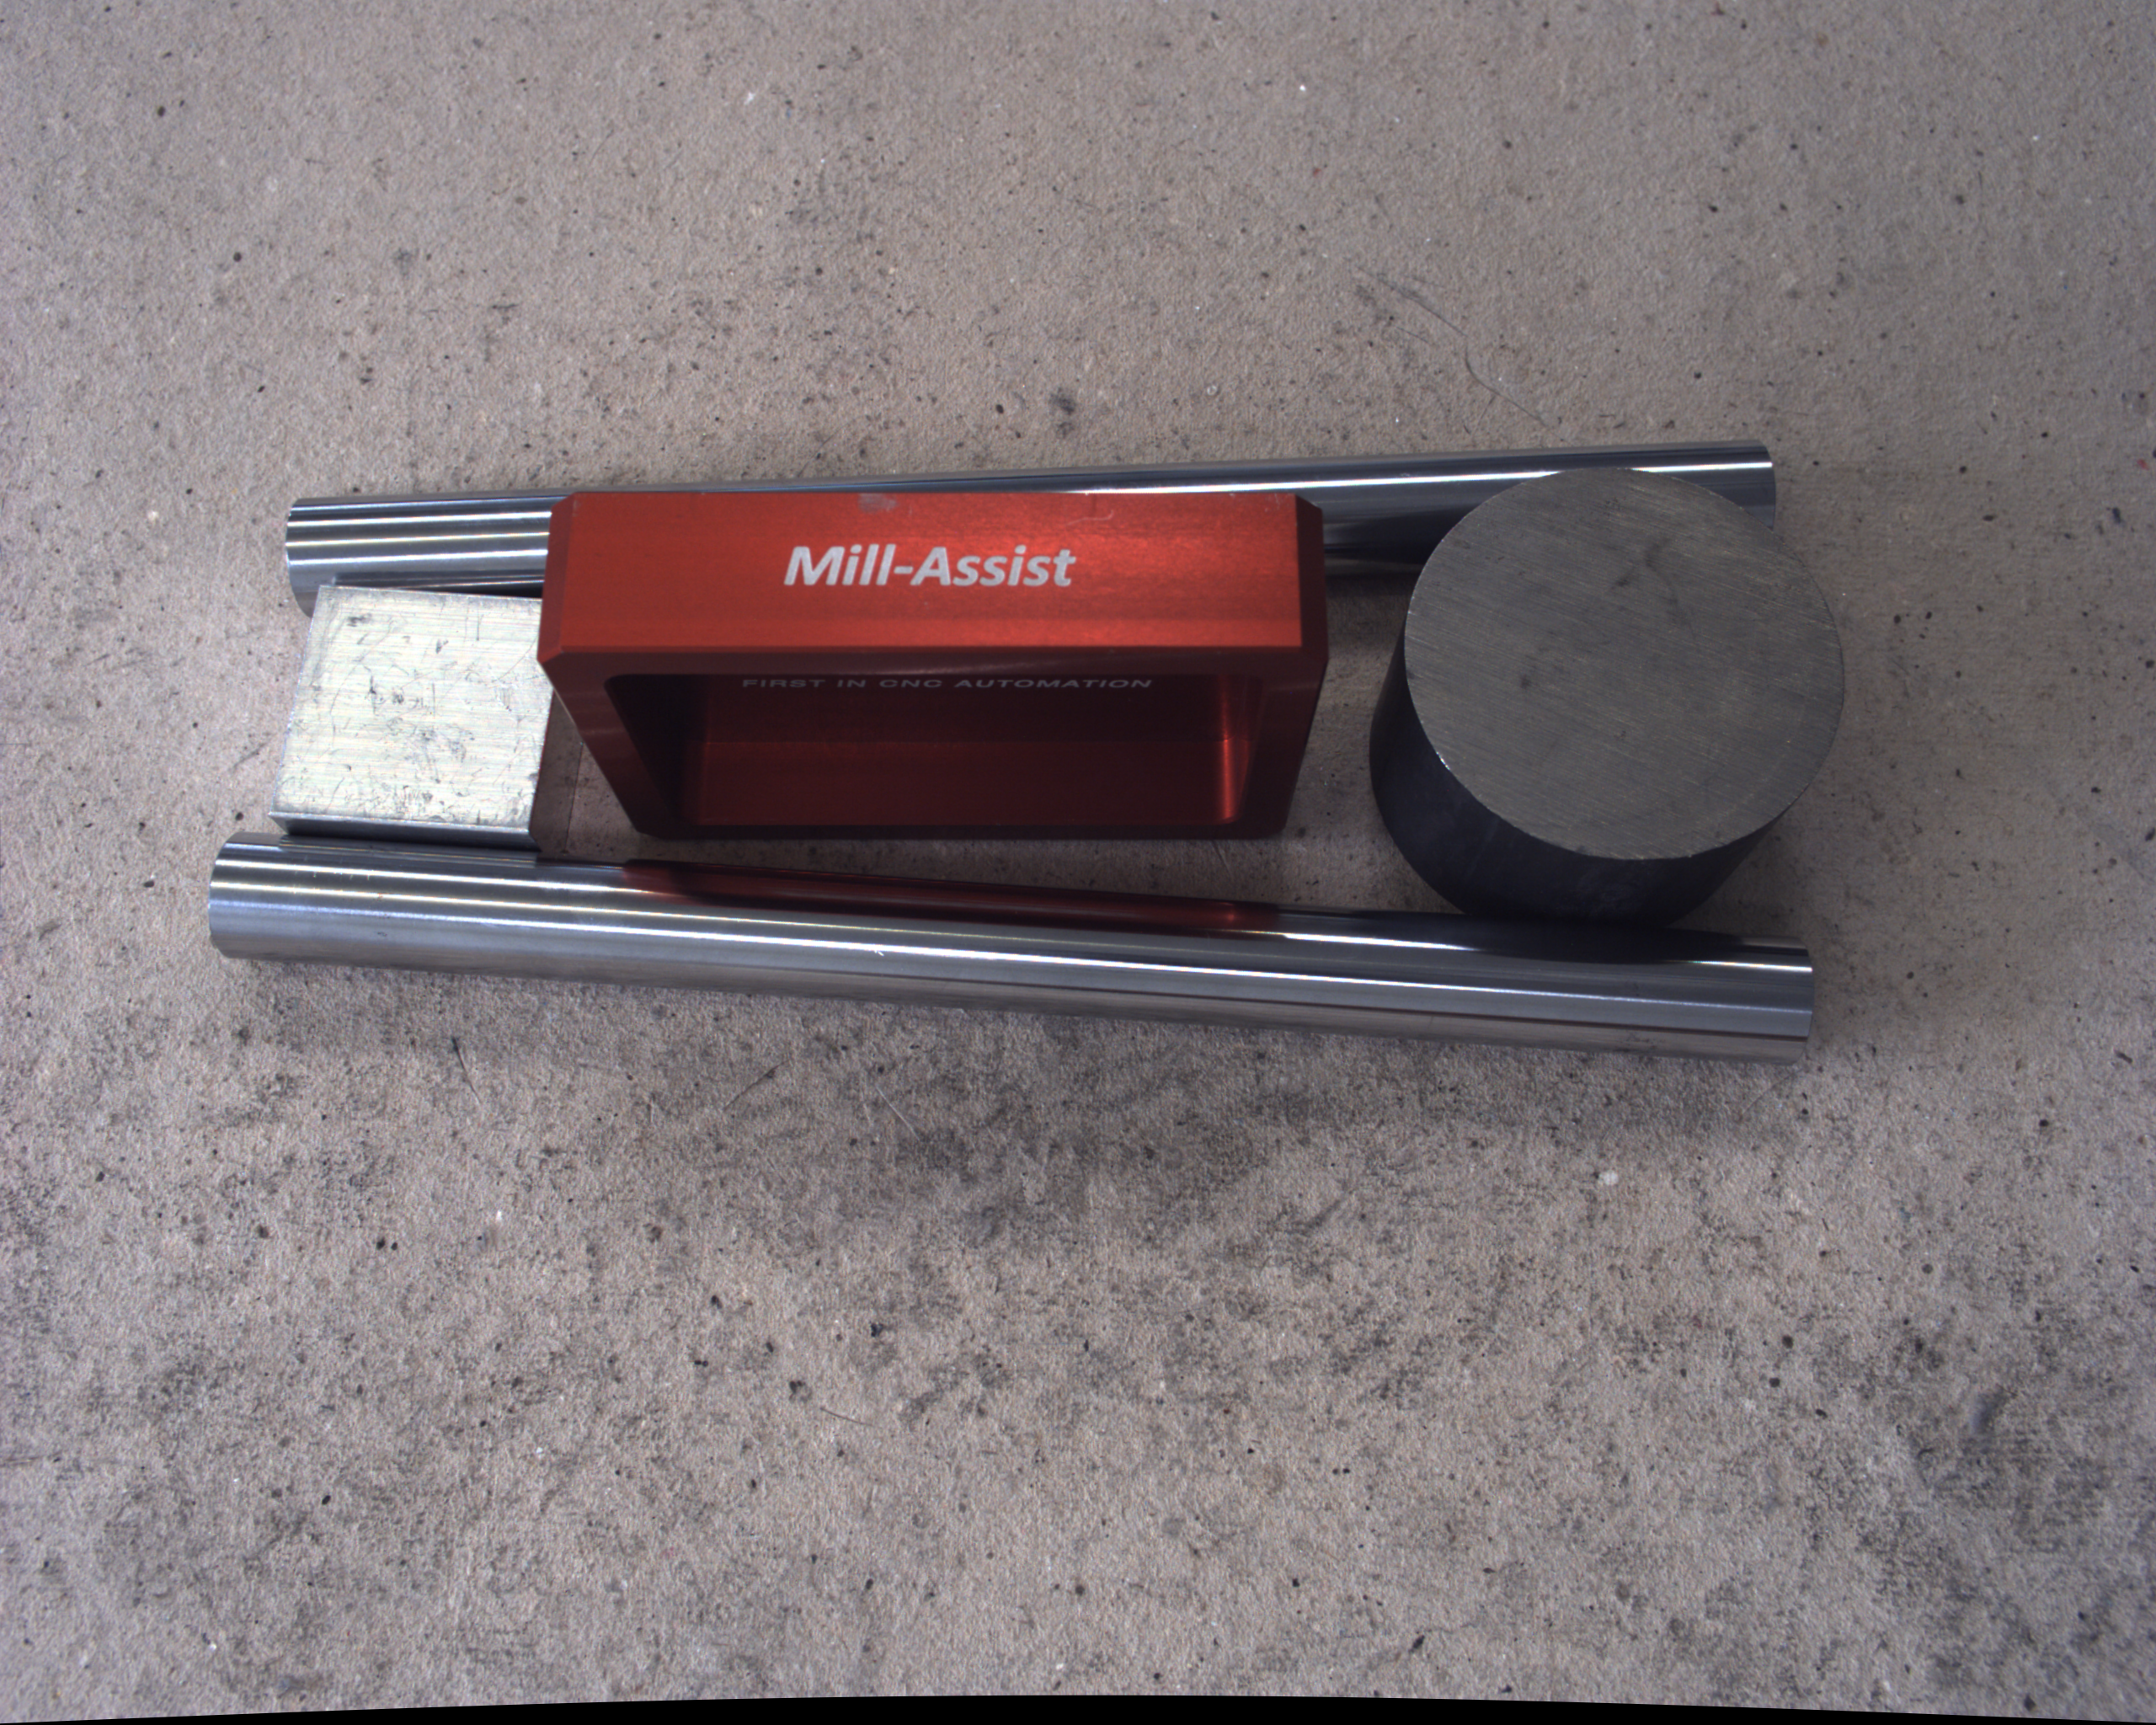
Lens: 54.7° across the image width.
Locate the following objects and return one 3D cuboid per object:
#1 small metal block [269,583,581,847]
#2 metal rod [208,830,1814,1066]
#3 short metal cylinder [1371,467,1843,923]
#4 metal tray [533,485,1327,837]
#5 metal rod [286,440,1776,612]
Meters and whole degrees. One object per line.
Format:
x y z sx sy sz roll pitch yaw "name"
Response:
-0.128 -0.027 0.419 0.050 0.025 0.050 4 70 1 "small metal block"
-0.013 0.016 0.403 0.302 0.025 0.025 4 70 1 "metal rod"
0.100 -0.030 0.407 0.081 0.050 0.080 0 70 0 "short metal cylinder"
-0.024 -0.034 0.386 0.131 0.090 0.030 0 70 0 "metal tray"
-0.008 -0.070 0.435 0.302 0.025 0.025 -2 70 -1 "metal rod"
